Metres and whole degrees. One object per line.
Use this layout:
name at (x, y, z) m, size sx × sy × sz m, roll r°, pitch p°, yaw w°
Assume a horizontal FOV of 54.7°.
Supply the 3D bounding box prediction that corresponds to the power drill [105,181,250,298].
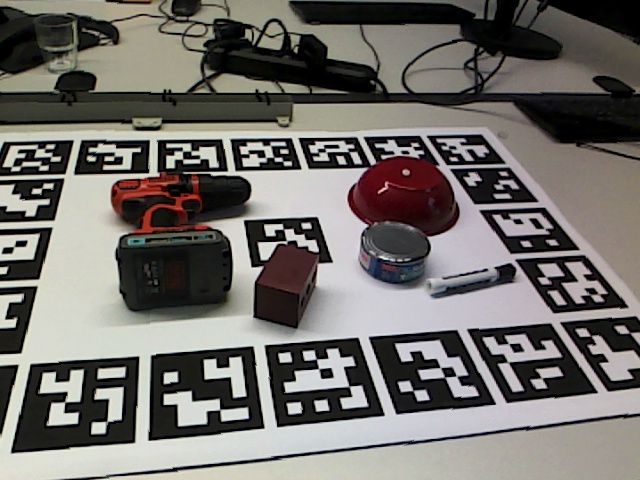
power drill at (-0.167, -0.010, 0.752) m, size 0.184 × 0.057 × 0.188 m, roll -1°, pitch 34°, yaw -15°

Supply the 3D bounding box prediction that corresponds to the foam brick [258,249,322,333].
foam brick at (-0.033, 0.056, 0.691) m, size 0.051 × 0.052 × 0.078 m, roll 13°, pitch 38°, yaw 6°

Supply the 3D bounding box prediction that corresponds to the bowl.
bowl at (0.118, -0.067, 0.881) m, size 0.161 × 0.055 × 0.162 m, roll 0°, pitch 30°, yaw -1°

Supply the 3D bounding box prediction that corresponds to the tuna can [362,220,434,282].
tuna can at (0.095, 0.013, 0.770) m, size 0.085 × 0.033 × 0.086 m, roll 6°, pitch 36°, yaw -4°

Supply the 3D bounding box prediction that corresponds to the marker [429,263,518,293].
marker at (0.189, 0.045, 0.751) m, size 0.120 × 0.019 × 0.020 m, roll -9°, pitch 41°, yaw -20°
